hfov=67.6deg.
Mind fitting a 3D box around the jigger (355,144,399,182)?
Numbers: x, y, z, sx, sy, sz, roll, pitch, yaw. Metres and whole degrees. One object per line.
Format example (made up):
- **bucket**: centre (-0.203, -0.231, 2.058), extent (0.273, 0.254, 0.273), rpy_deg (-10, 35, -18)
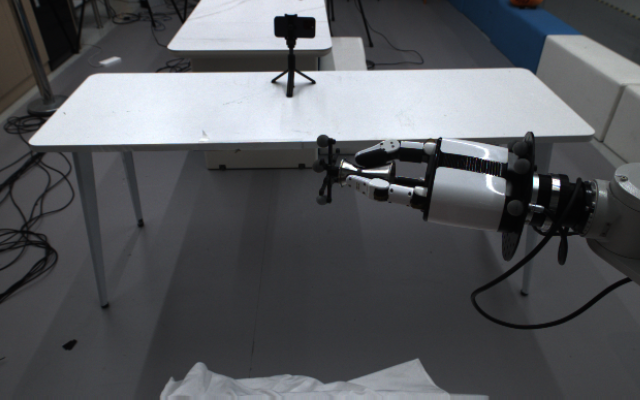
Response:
- **jigger**: centre (0.068, -0.036, 0.638), extent (0.071, 0.043, 0.043), rpy_deg (7, 35, 16)
